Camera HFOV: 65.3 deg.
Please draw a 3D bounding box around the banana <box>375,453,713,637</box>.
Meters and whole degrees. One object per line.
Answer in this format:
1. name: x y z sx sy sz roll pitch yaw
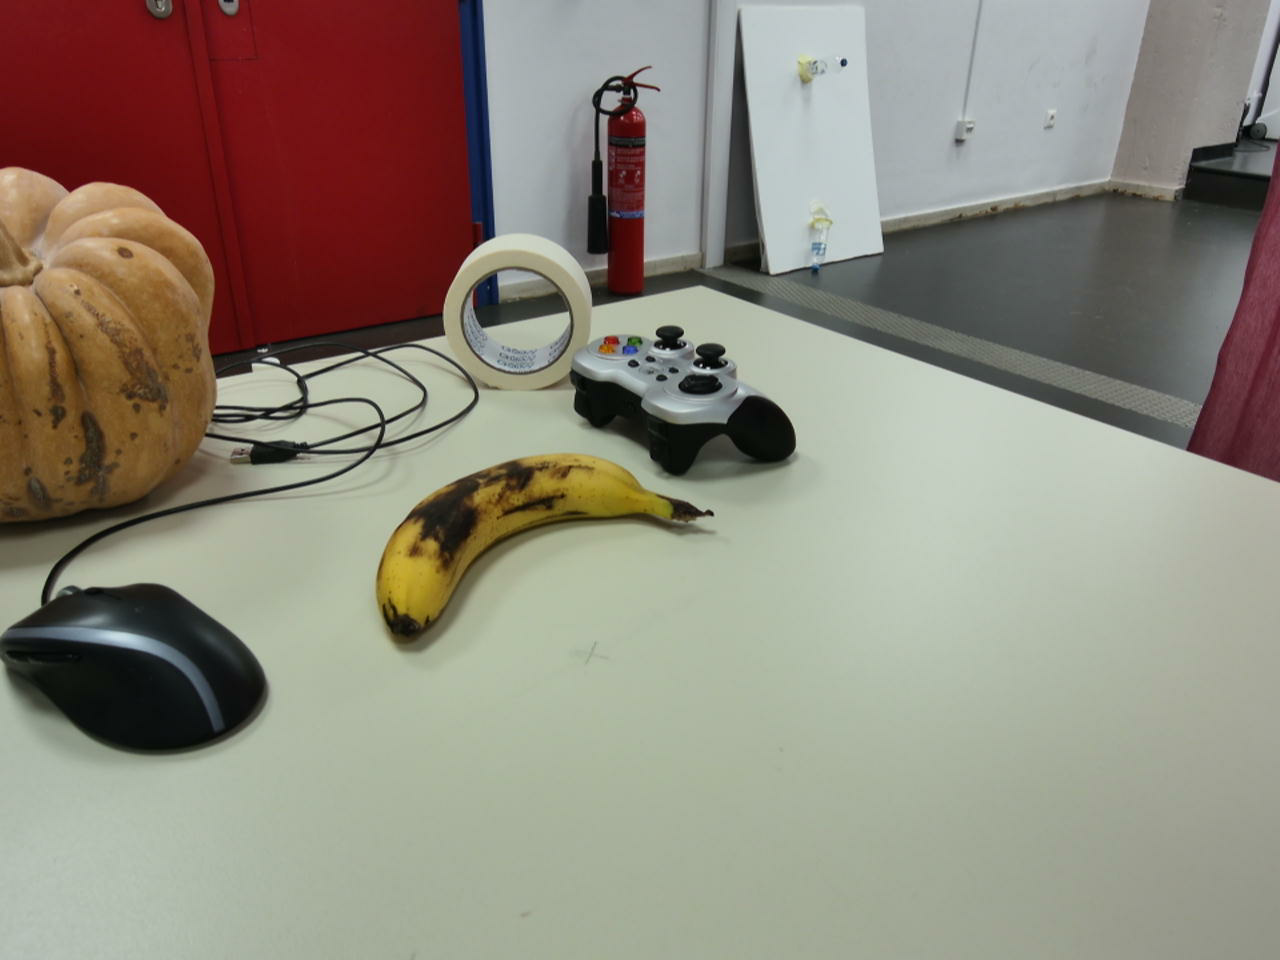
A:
1. banana: -0.063 0.022 0.518 0.187 0.039 0.094 -18 31 -35
